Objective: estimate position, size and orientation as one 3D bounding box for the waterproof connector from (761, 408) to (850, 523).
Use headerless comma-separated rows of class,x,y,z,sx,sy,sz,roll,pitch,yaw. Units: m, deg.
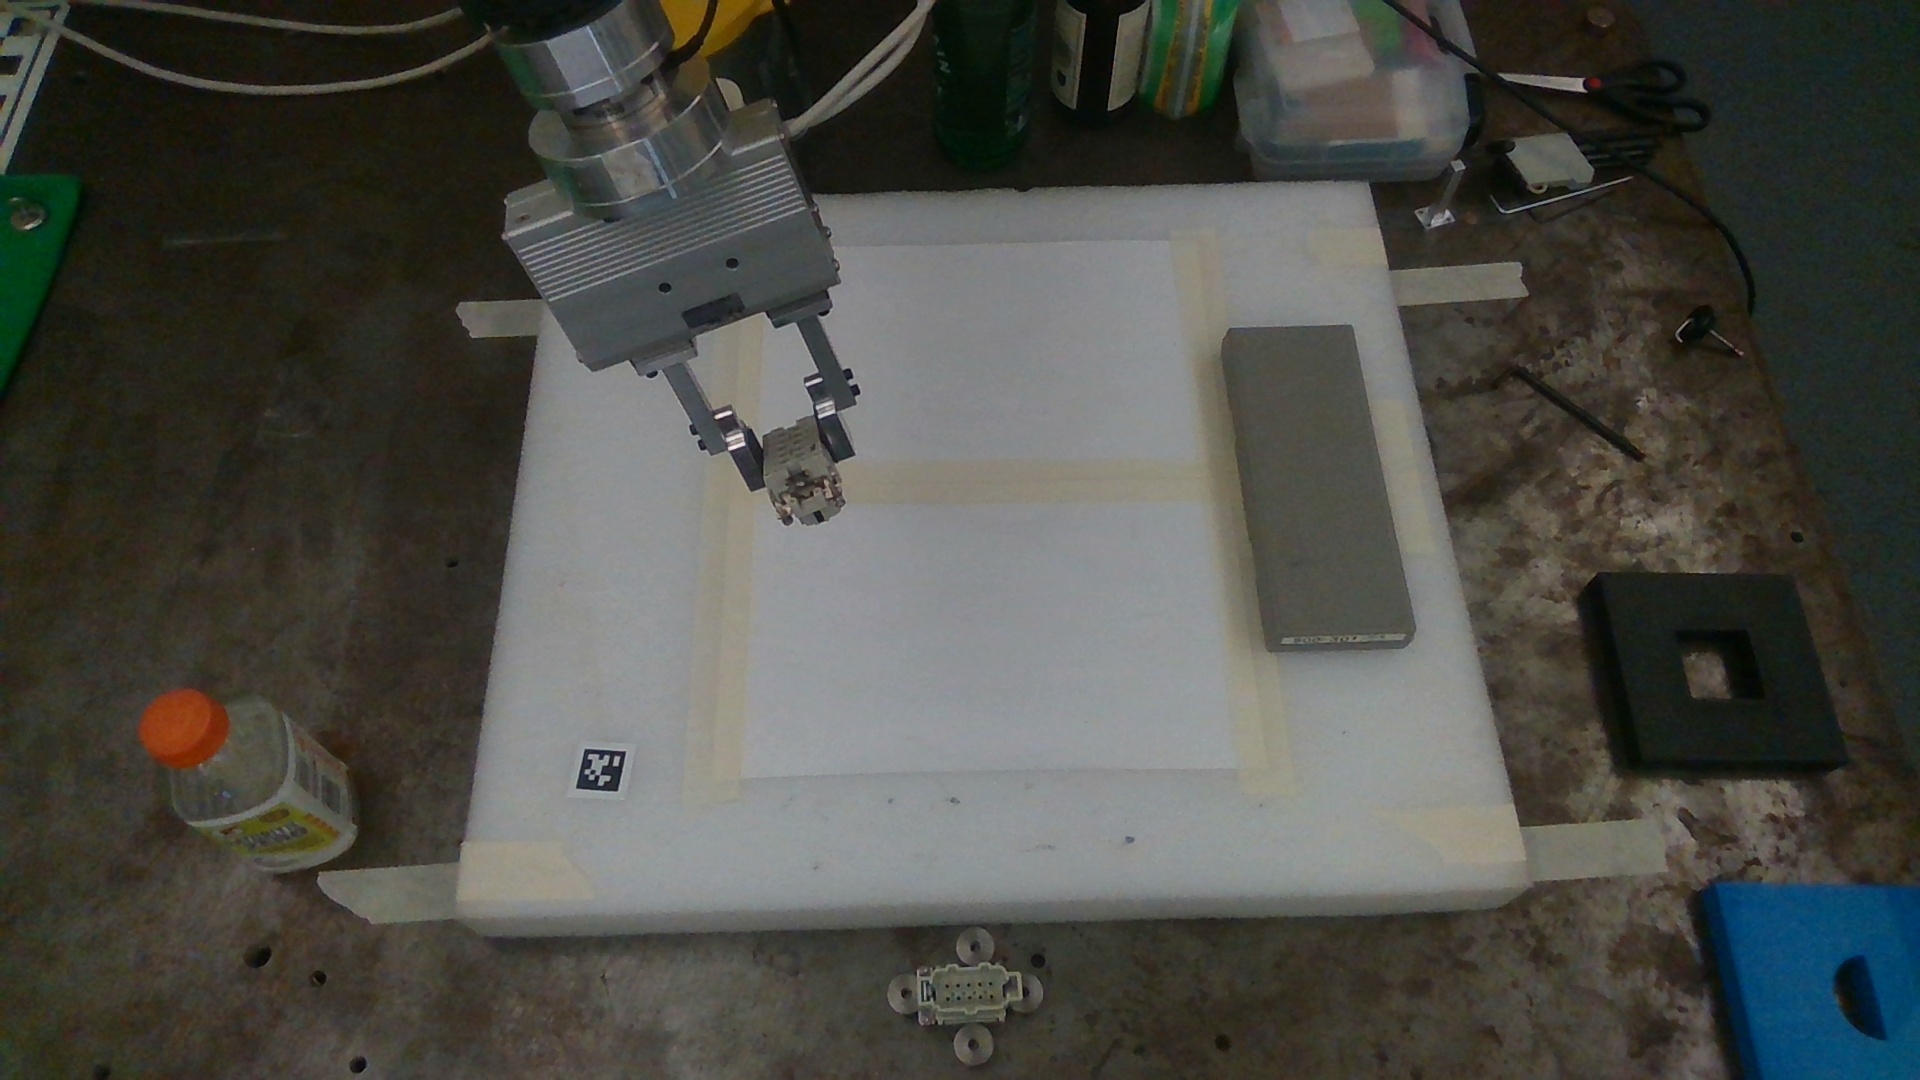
waterproof connector,-0.076,-0.036,0.687,0.037,0.038,0.069,-20,28,0
